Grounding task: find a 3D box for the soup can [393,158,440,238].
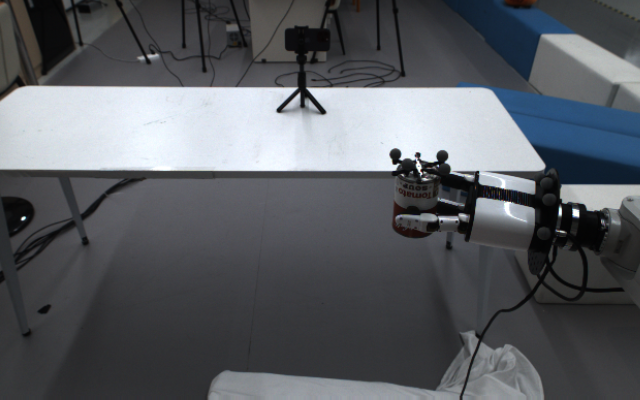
[{"bbox_3d":[0.149,-0.004,0.744,0.067,0.101,0.067,-2,34,1],"label":"soup can"}]
